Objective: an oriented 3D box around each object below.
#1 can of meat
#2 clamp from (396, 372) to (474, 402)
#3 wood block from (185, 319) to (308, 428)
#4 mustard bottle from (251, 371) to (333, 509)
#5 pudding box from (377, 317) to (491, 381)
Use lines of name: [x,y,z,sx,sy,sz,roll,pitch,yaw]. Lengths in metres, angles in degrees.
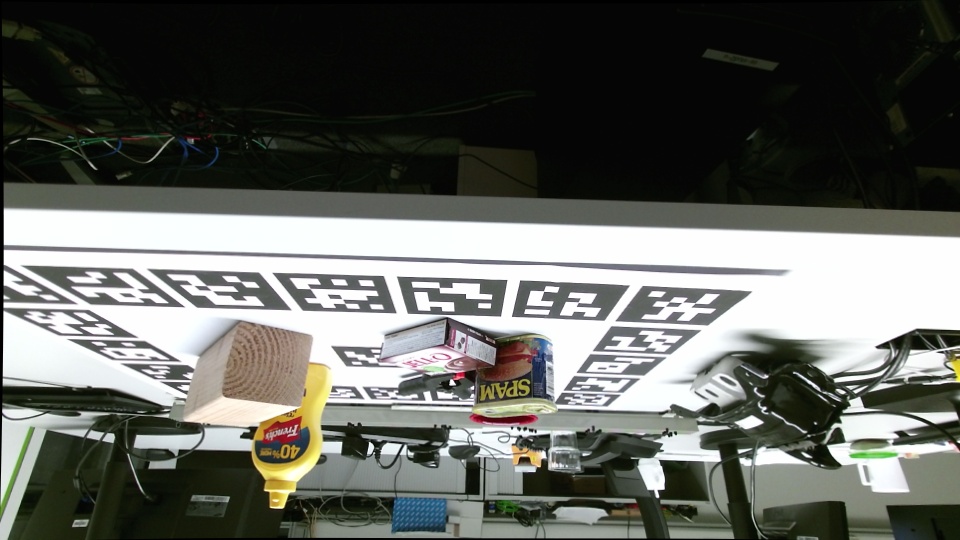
can of meat: [0.041,0.134,0.649,0.102,0.083,0.058,-14,147,27]
clamp: [-0.054,0.174,0.794,0.122,0.036,0.165,12,148,-16]
wood block: [-0.310,0.142,0.692,0.090,0.090,0.206,20,149,-33]
mustard bottle: [-0.271,0.241,0.757,0.096,0.190,0.058,-1,151,4]
pudding box: [-0.056,0.097,0.643,0.114,0.038,0.090,-19,145,36]
